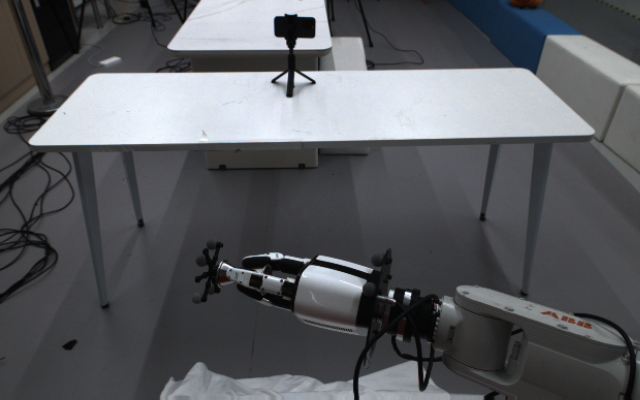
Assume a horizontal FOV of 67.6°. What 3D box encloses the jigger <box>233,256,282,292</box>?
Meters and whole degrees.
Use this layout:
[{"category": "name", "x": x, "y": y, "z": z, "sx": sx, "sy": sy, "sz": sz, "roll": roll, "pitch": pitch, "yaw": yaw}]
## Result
[{"category": "jigger", "x": -0.101, "y": 0.106, "z": 0.687, "sx": 0.071, "sy": 0.043, "sz": 0.043, "roll": 6, "pitch": 35, "yaw": 14}]
